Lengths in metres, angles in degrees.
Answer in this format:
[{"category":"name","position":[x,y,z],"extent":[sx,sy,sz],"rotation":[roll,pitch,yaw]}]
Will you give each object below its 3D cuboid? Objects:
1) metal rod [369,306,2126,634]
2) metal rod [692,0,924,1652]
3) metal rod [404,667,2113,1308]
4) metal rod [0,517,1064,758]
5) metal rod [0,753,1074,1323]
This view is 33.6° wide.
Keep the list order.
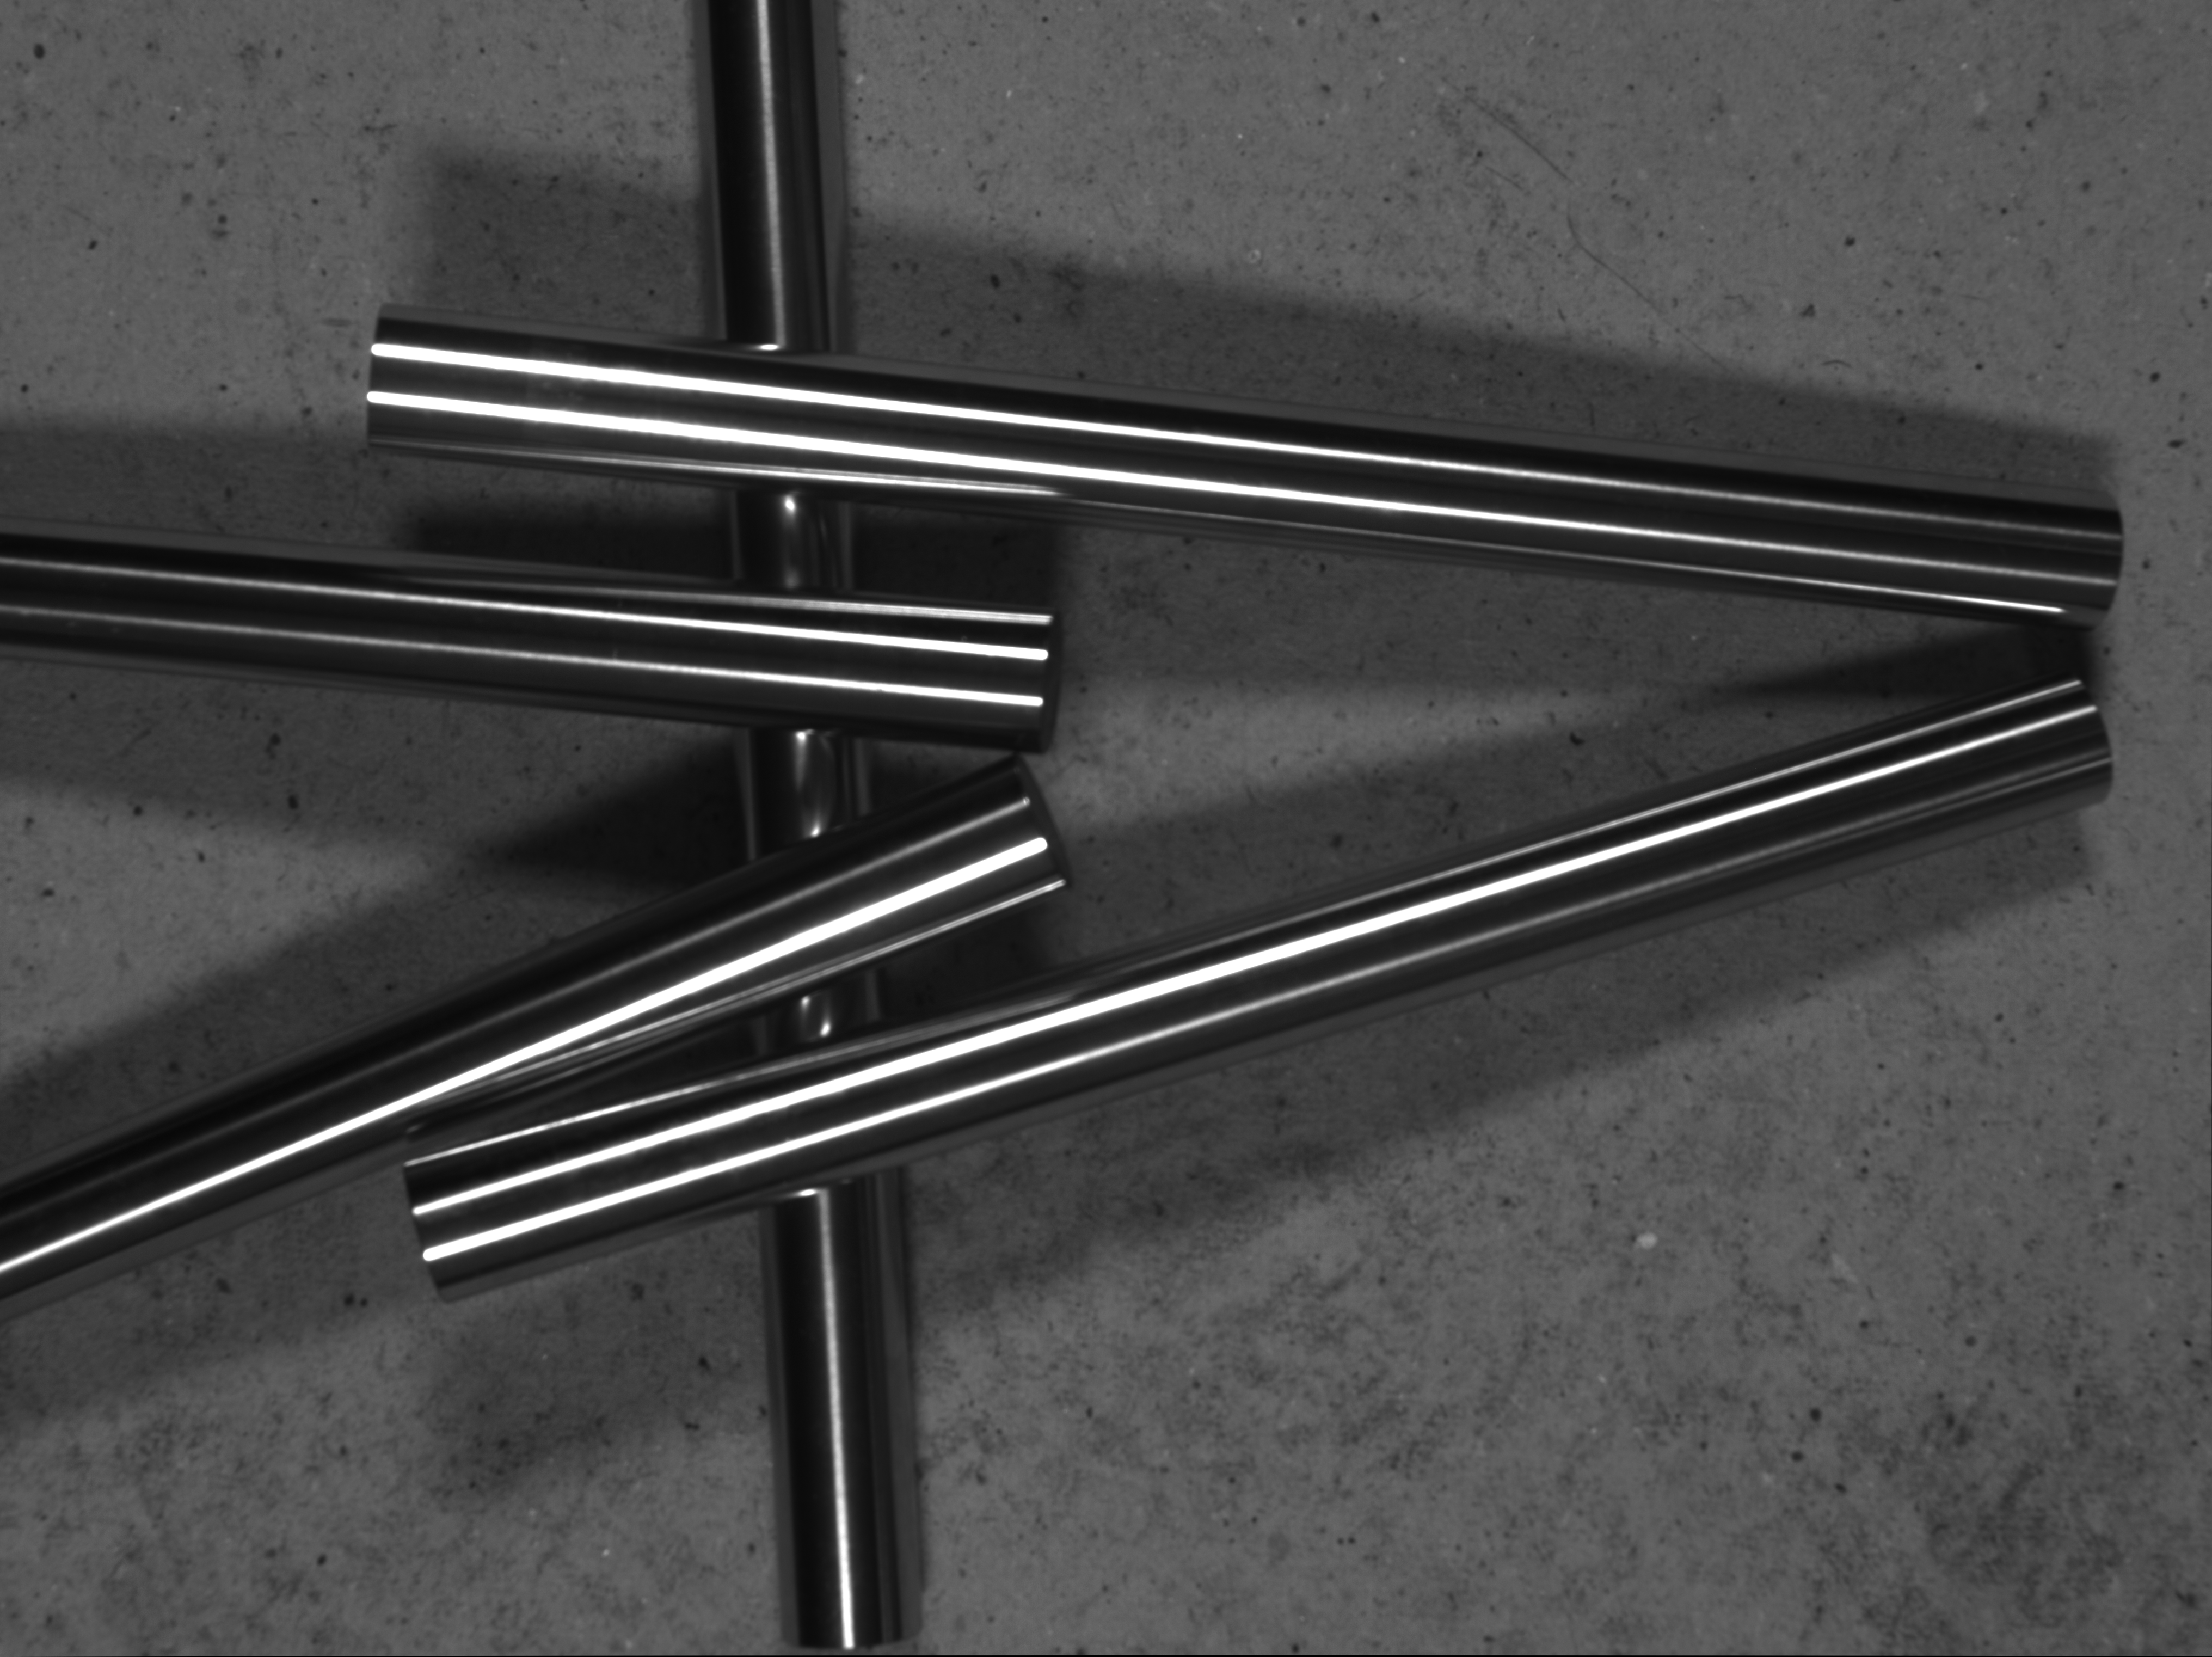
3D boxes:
[{"category":"metal rod","position":[0.027,-0.061,0.629],"extent":[0.300,0.025,0.025],"rotation":[5,90,-7]},{"category":"metal rod","position":[-0.053,-0.008,0.645],"extent":[0.025,0.025,0.300],"rotation":[-3,90,0]},{"category":"metal rod","position":[0.029,0.026,0.630],"extent":[0.300,0.025,0.025],"rotation":[-17,90,-7]},{"category":"metal rod","position":[-0.157,-0.038,0.630],"extent":[0.300,0.025,0.025],"rotation":[5,90,5]},{"category":"metal rod","position":[-0.149,0.055,0.630],"extent":[0.300,0.025,0.025],"rotation":[-22,90,5]}]
